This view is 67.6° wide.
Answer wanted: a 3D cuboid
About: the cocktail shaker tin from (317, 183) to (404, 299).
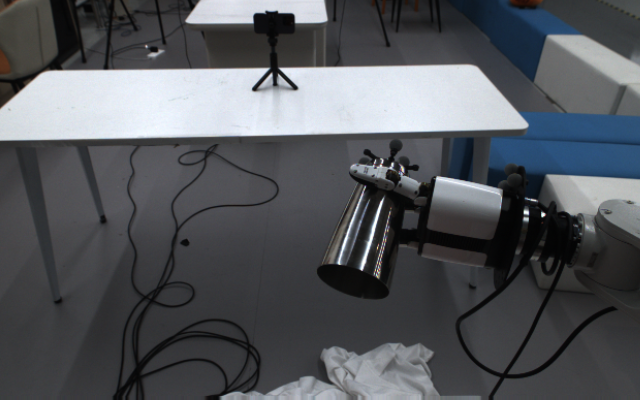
[{"bbox_3d":[0.066,0.028,0.629,0.093,0.093,0.170,13,59,16],"label":"cocktail shaker tin"}]
